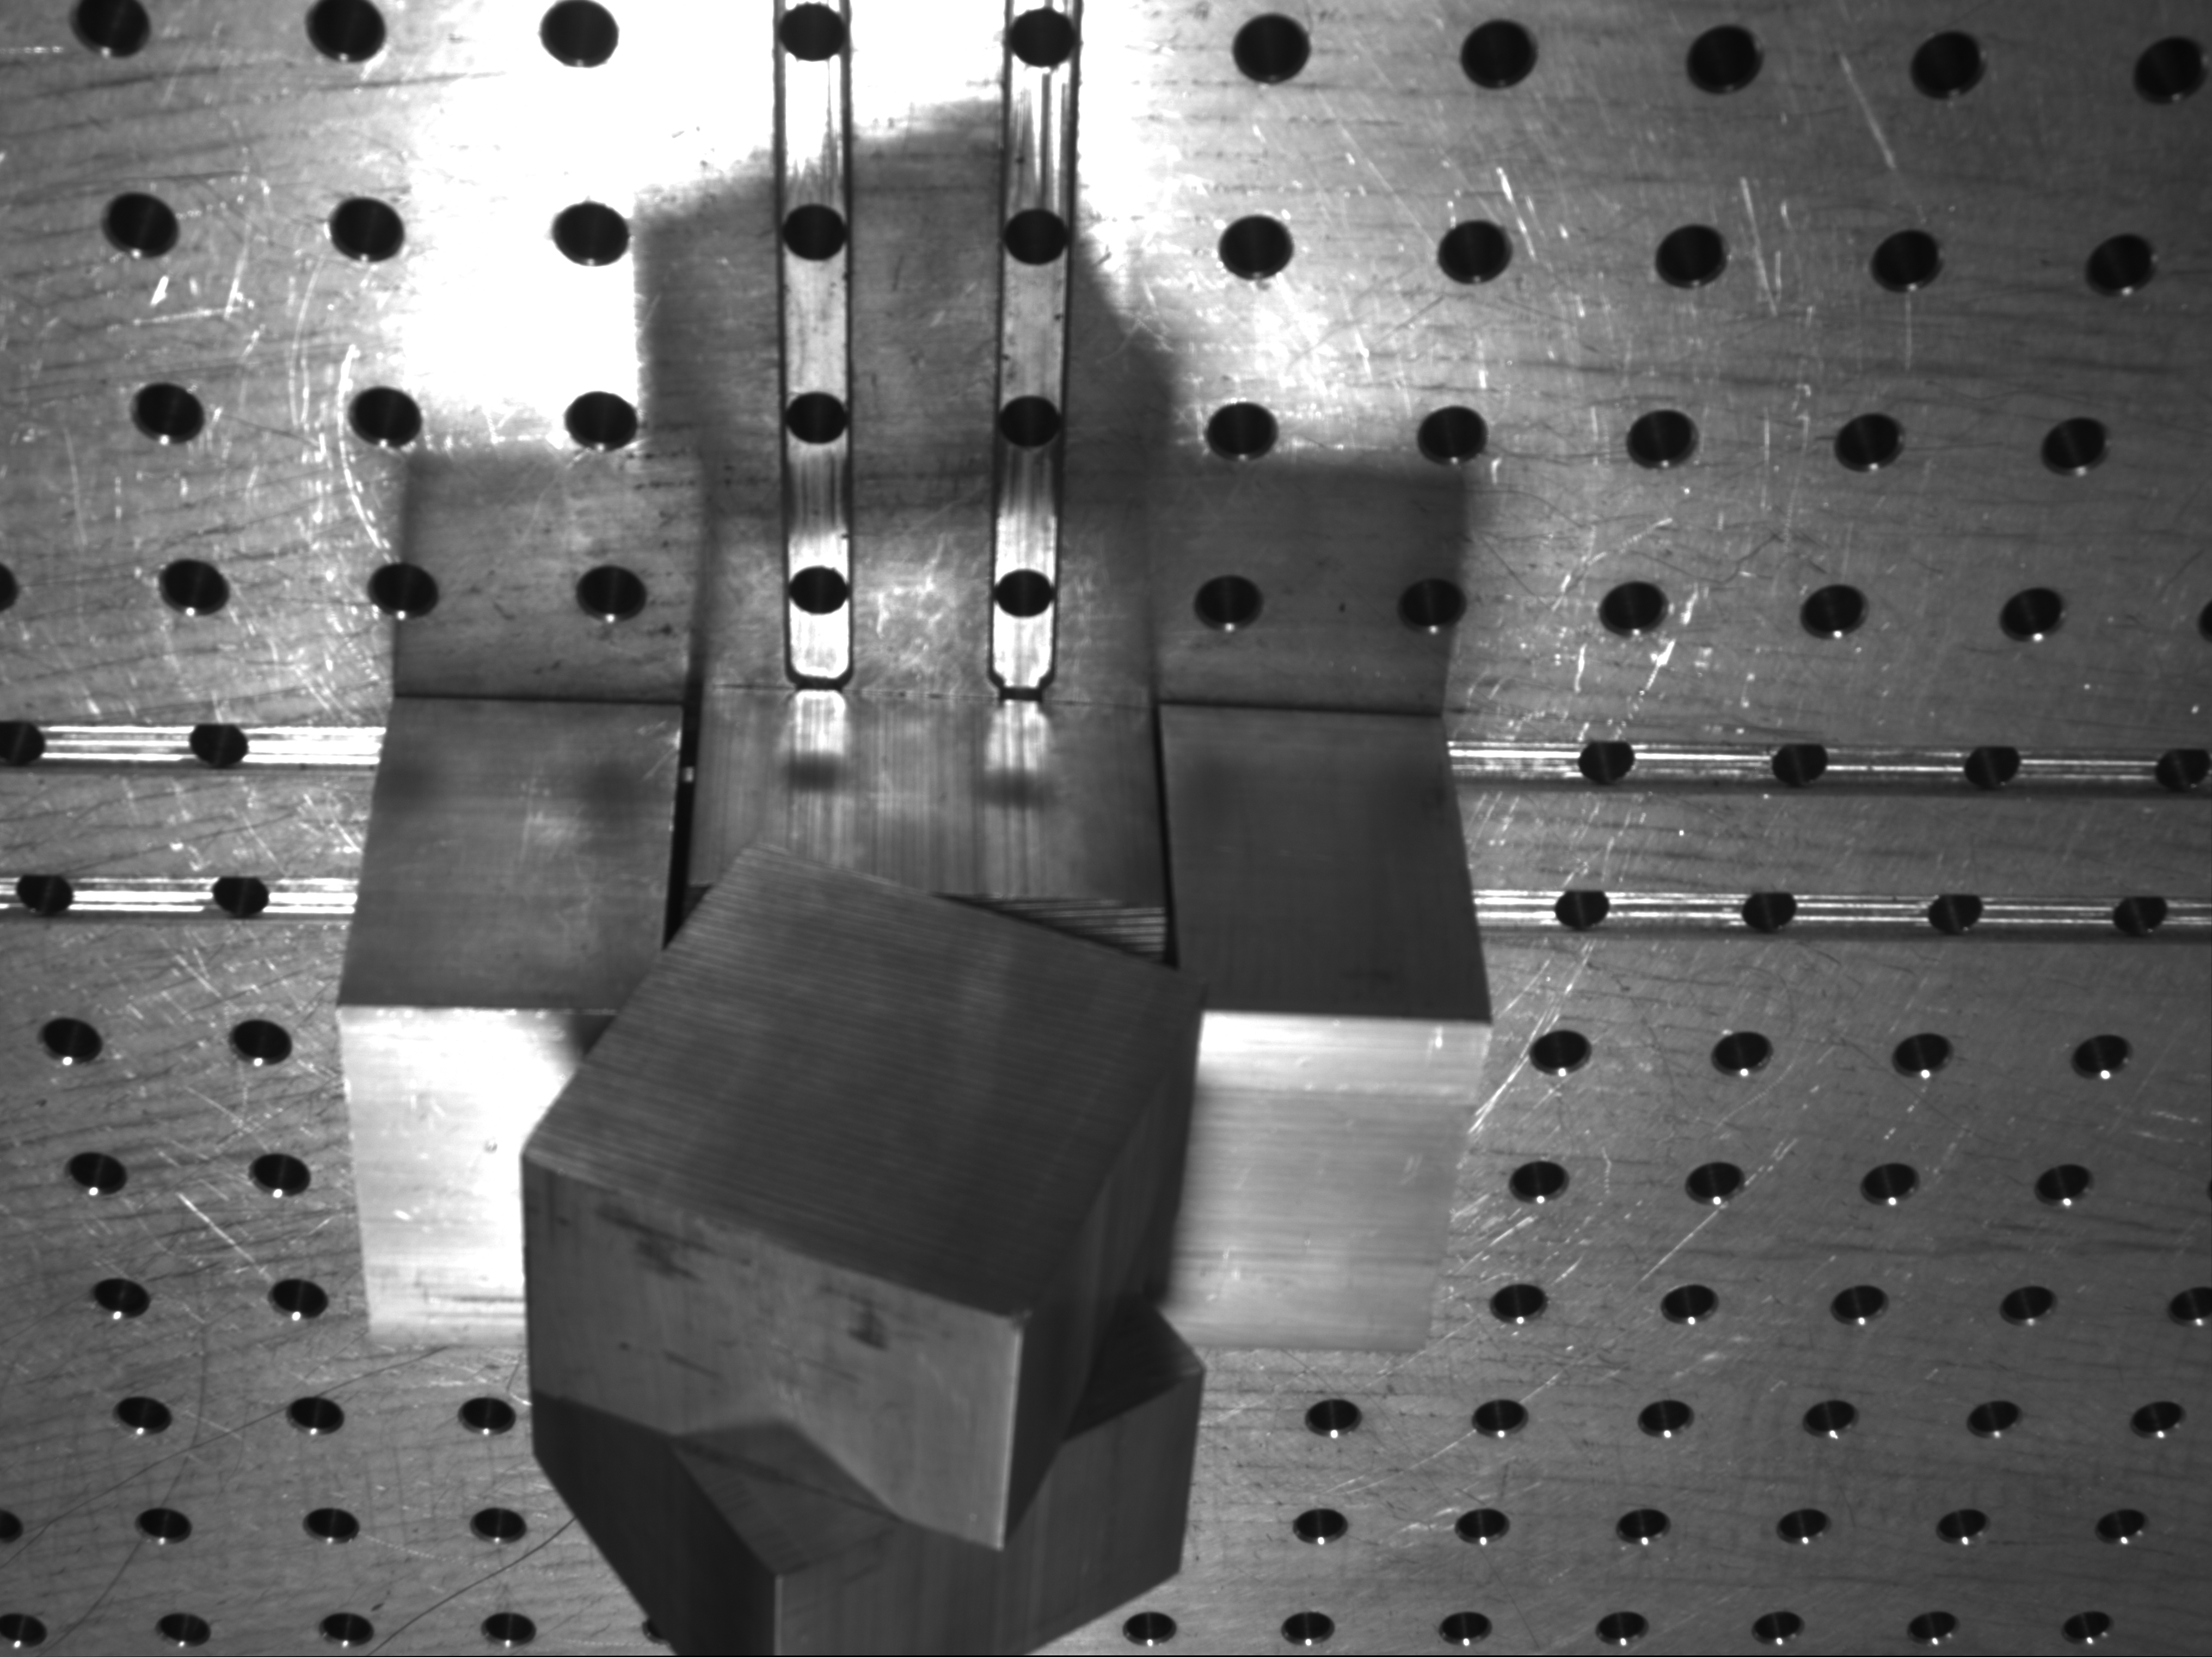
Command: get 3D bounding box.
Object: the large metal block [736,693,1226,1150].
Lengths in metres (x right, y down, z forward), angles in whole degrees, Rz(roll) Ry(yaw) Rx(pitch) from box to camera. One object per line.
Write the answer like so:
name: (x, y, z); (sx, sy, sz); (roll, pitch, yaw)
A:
large metal block: (-0.023, 0.025, 0.642); (0.080, 0.050, 0.080); (2, 130, -4)

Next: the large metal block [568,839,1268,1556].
large metal block: (-0.028, 0.055, 0.568); (0.080, 0.080, 0.050); (17, 131, 14)

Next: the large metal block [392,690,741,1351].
large metal block: (-0.090, 0.033, 0.630); (0.050, 0.080, 0.080); (1, 130, -3)

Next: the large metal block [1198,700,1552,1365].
large metal block: (0.042, 0.035, 0.636); (0.050, 0.080, 0.080); (3, 130, -4)

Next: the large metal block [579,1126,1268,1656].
large metal block: (-0.032, 0.096, 0.597); (0.080, 0.080, 0.050); (-21, 136, -28)
